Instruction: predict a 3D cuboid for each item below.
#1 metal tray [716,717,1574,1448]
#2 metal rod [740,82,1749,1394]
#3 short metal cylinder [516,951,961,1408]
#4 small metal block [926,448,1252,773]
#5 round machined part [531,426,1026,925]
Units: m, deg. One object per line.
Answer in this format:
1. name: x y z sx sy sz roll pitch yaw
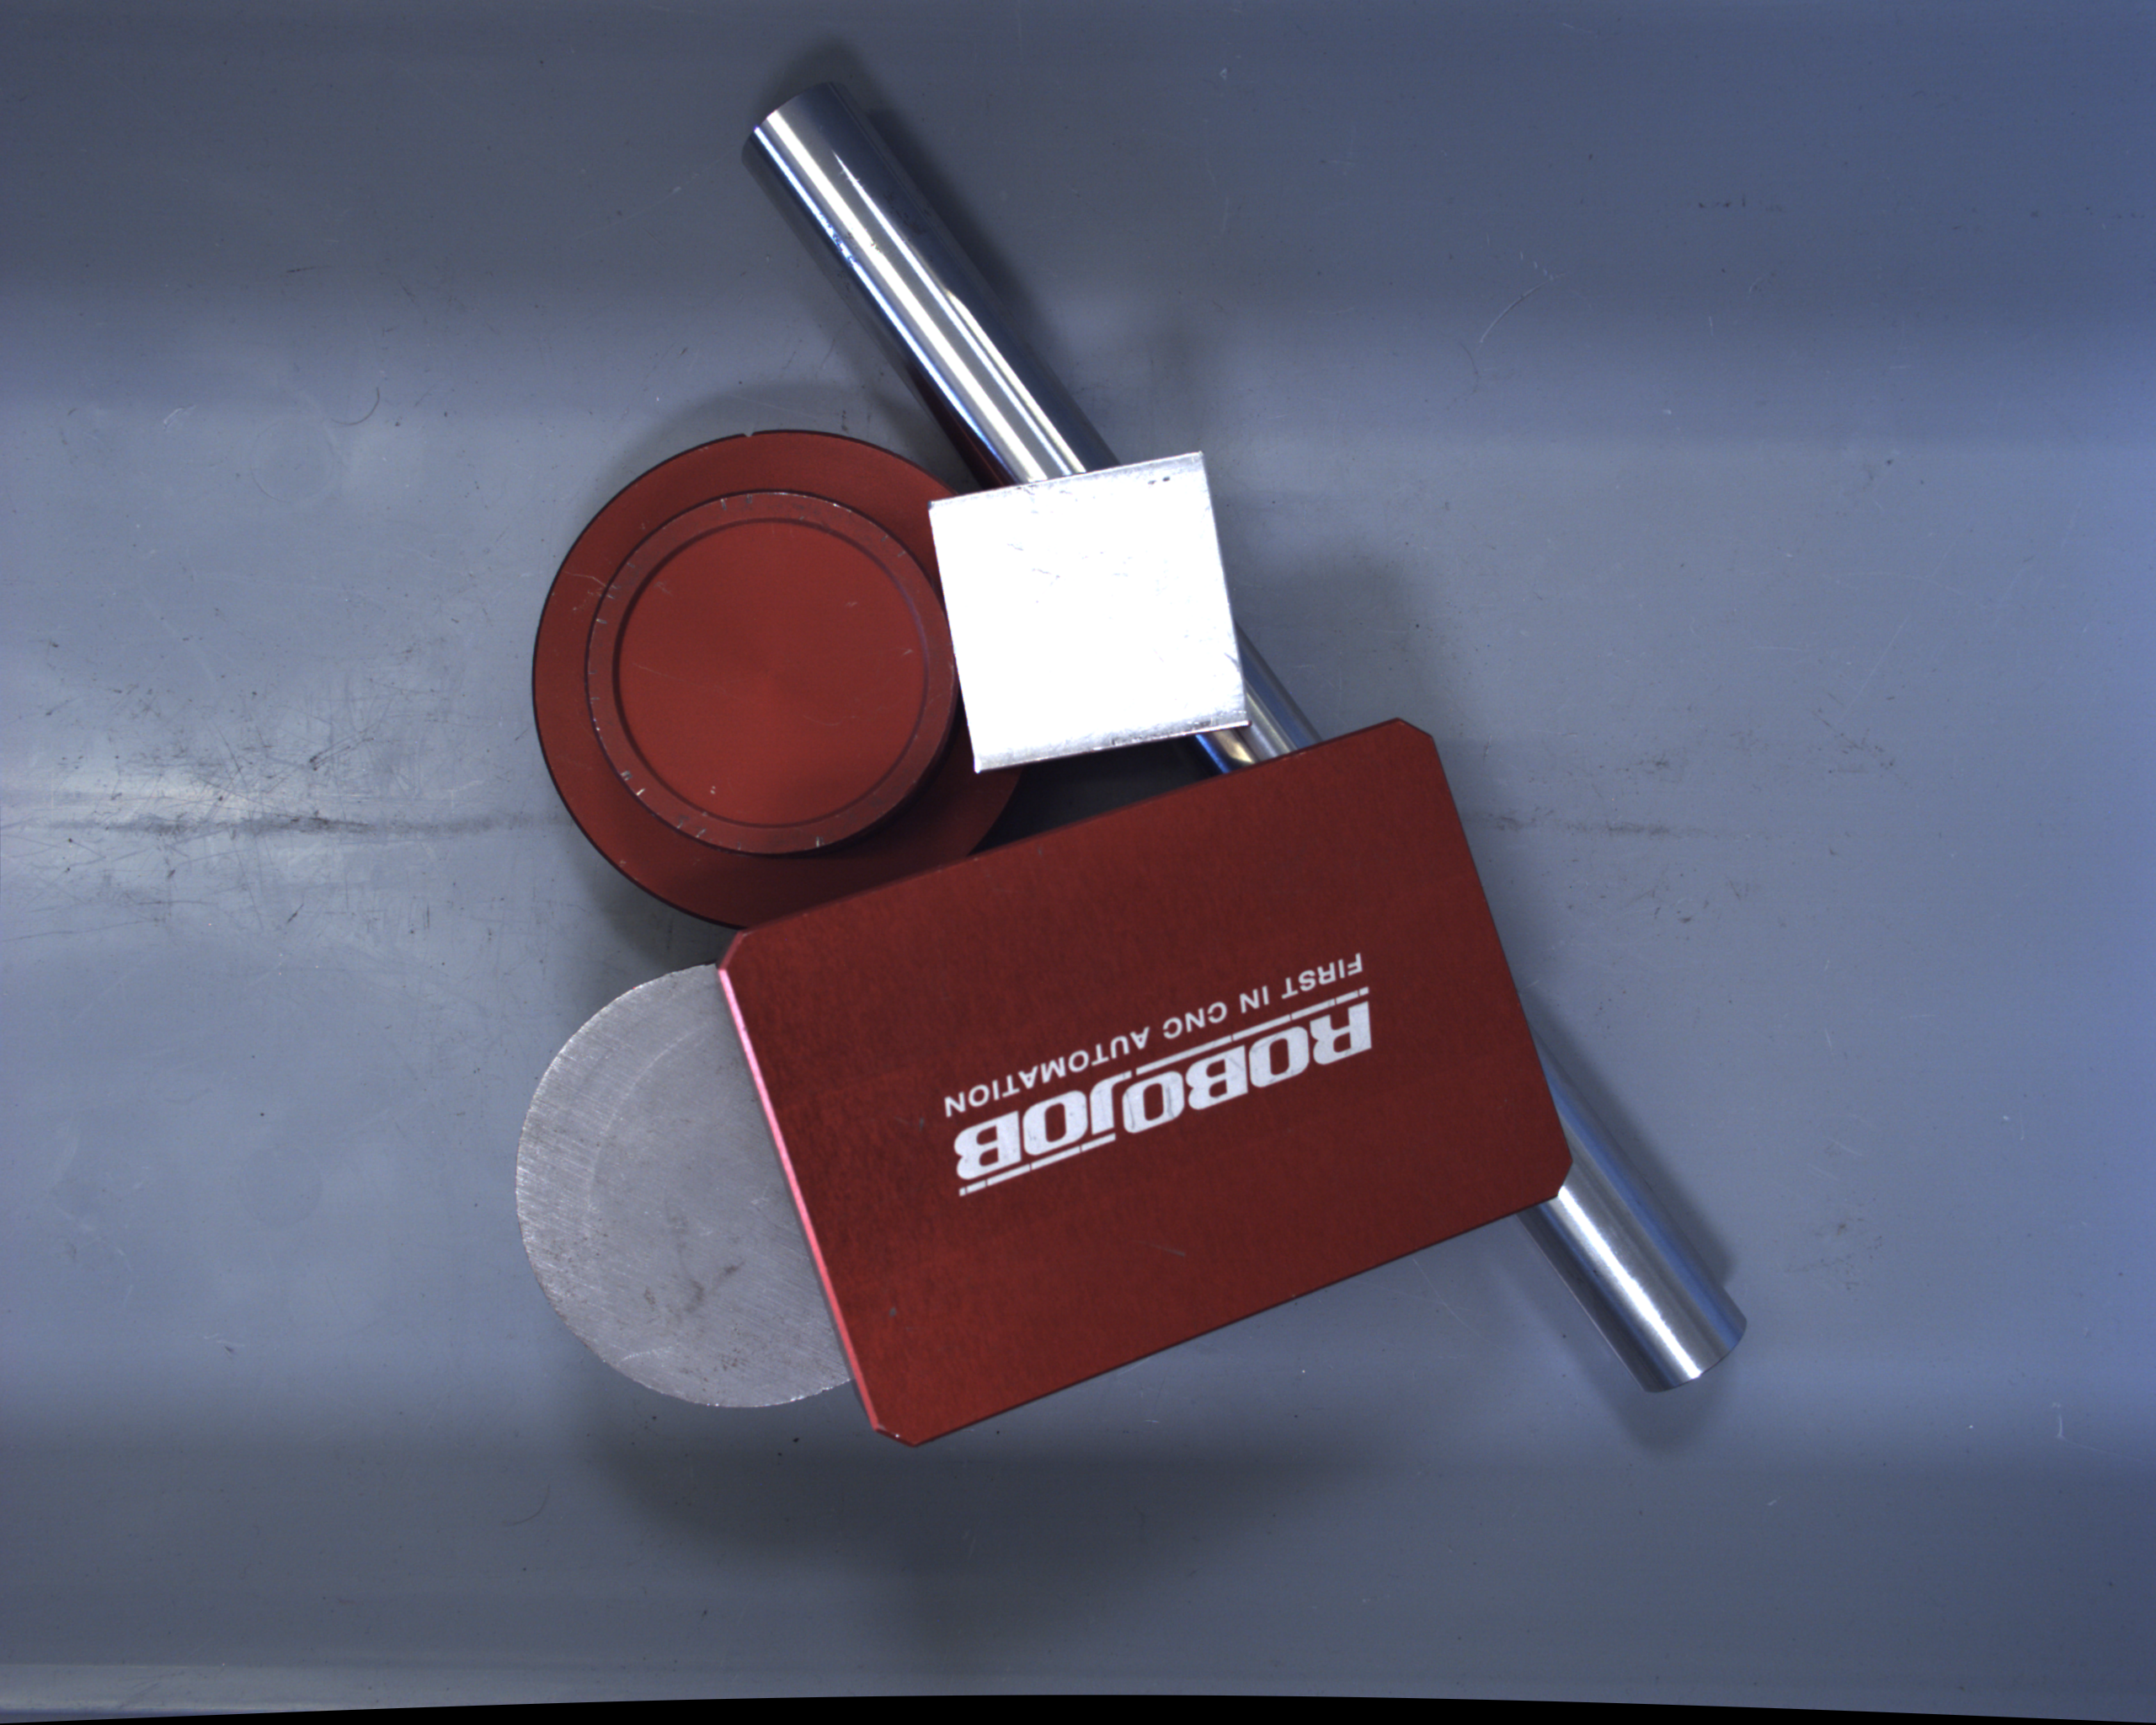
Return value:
1. metal tray: 0.012 0.036 0.369 0.131 0.030 0.090 -18 90 -13
2. metal rod: 0.033 -0.024 0.410 0.025 0.025 0.299 -36 90 0
3. short metal cylinder: -0.060 0.057 0.396 0.081 0.050 0.079 0 90 0
4. small metal block: 0.003 -0.046 0.386 0.050 0.025 0.050 -10 93 5
5. round machined part: -0.056 -0.035 0.400 0.099 0.042 0.097 0 90 1
